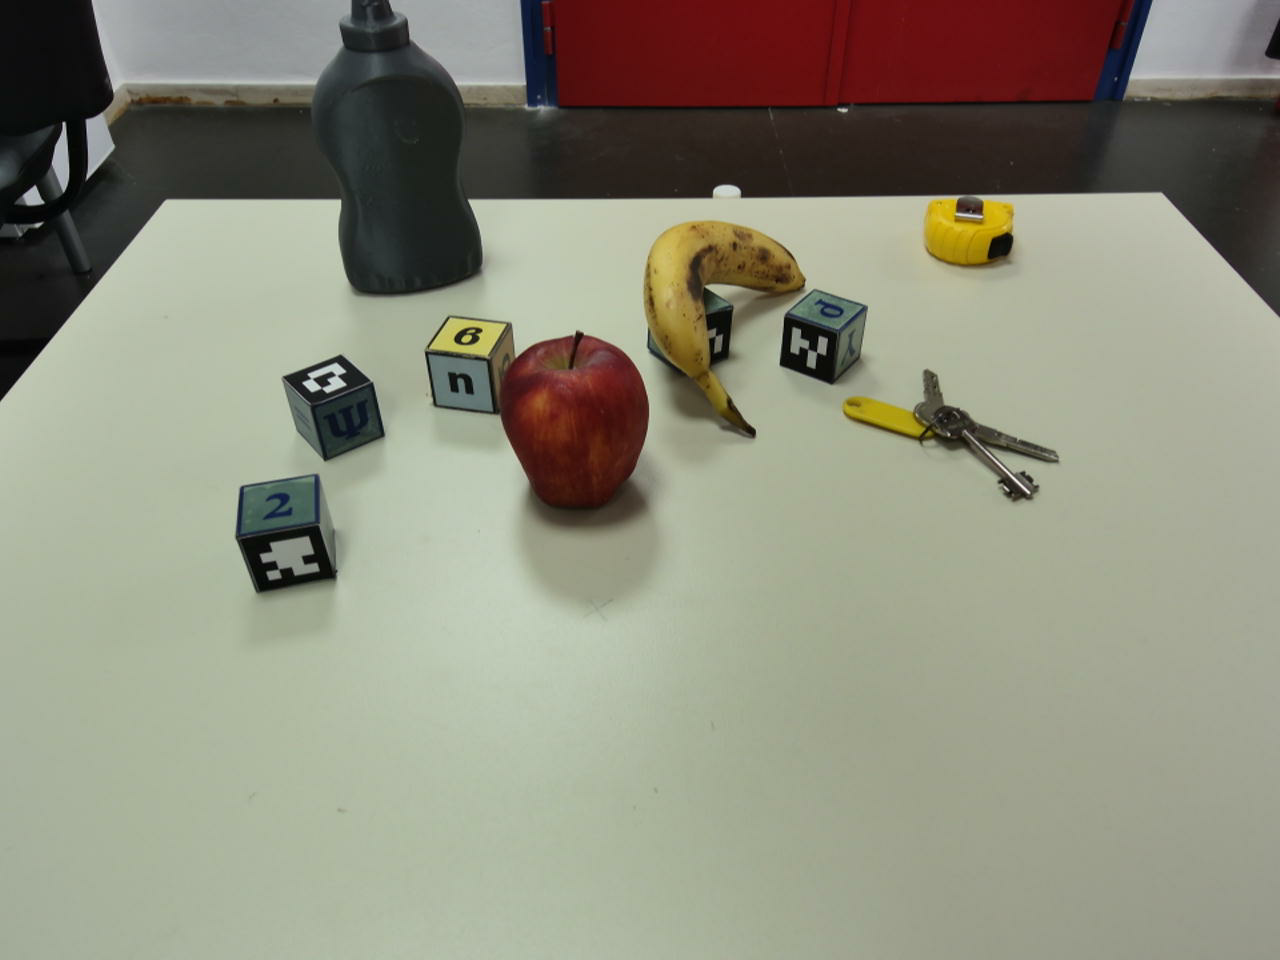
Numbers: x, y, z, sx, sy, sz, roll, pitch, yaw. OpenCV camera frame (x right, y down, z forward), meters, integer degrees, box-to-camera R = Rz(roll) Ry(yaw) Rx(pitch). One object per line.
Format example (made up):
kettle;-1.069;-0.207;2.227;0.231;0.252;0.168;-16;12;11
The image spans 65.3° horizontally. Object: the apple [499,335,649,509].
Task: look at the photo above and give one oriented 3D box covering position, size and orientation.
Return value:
apple;-0.035;-0.036;0.516;0.083;0.090;0.083;-1;39;1
